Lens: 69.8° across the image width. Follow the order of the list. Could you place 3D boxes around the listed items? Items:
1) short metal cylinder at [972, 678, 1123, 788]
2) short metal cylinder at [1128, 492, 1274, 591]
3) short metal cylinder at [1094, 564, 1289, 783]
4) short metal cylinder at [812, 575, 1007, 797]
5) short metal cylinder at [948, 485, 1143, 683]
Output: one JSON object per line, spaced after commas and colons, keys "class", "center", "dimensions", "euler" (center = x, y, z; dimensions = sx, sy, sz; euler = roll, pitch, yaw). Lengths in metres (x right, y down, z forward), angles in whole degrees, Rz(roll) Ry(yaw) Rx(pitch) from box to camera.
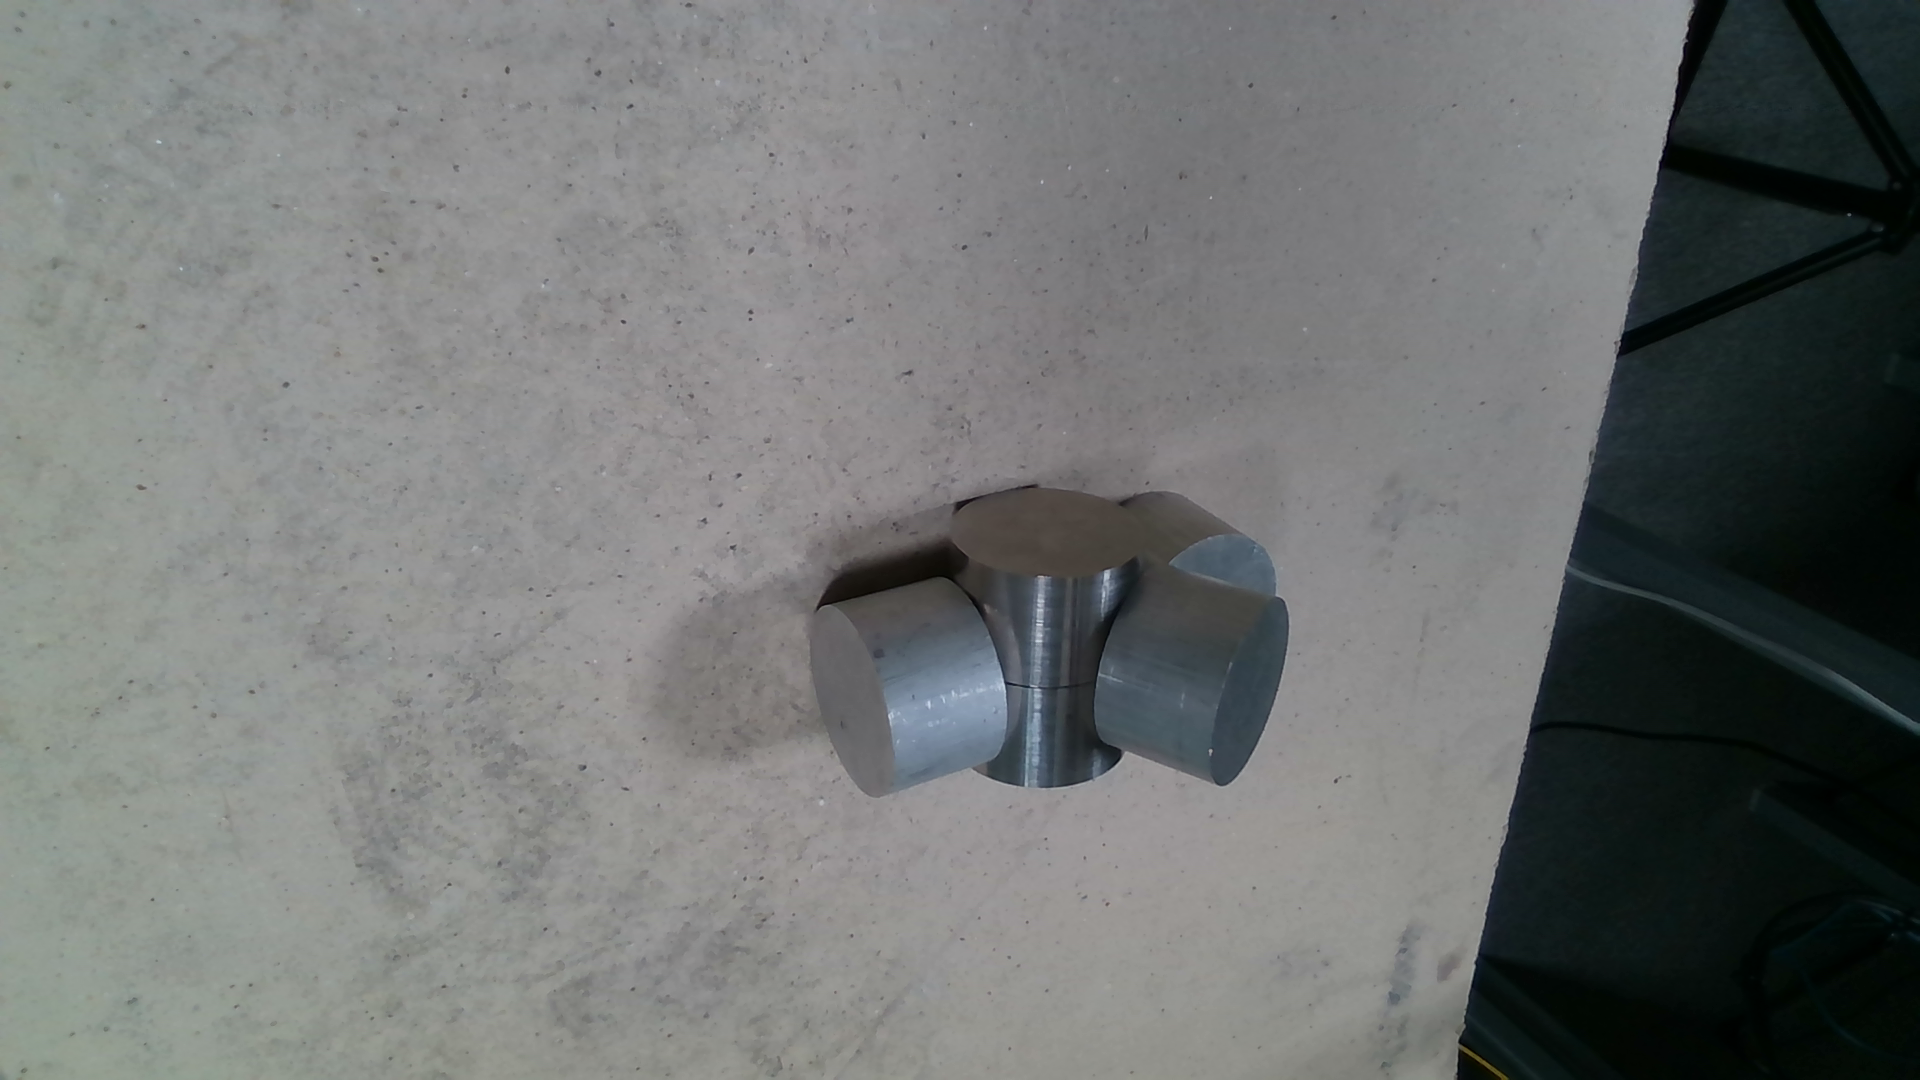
{"class": "short metal cylinder", "center": [0.035, 0.063, 0.600], "dimensions": [0.080, 0.080, 0.050], "euler": [-14, 121, -25]}
{"class": "short metal cylinder", "center": [0.098, 0.023, 0.638], "dimensions": [0.080, 0.050, 0.080], "euler": [-14, 122, -25]}
{"class": "short metal cylinder", "center": [0.097, 0.054, 0.568], "dimensions": [0.080, 0.050, 0.080], "euler": [-37, 135, -47]}
{"class": "short metal cylinder", "center": [-0.023, 0.059, 0.564], "dimensions": [0.050, 0.080, 0.080], "euler": [-14, 122, -25]}
{"class": "short metal cylinder", "center": [0.035, 0.017, 0.577], "dimensions": [0.080, 0.080, 0.050], "euler": [-14, 121, -25]}
